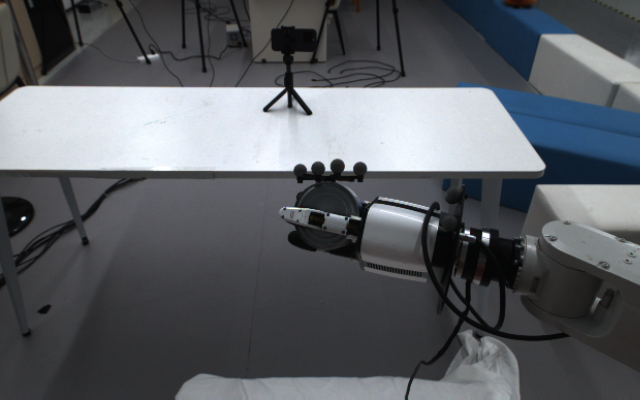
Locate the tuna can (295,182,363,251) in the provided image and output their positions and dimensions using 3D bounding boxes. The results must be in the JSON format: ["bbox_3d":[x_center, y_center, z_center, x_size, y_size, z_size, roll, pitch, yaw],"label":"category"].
[{"bbox_3d":[0.013,0.019,0.615,0.085,0.085,0.034,15,2,18],"label":"tuna can"}]
